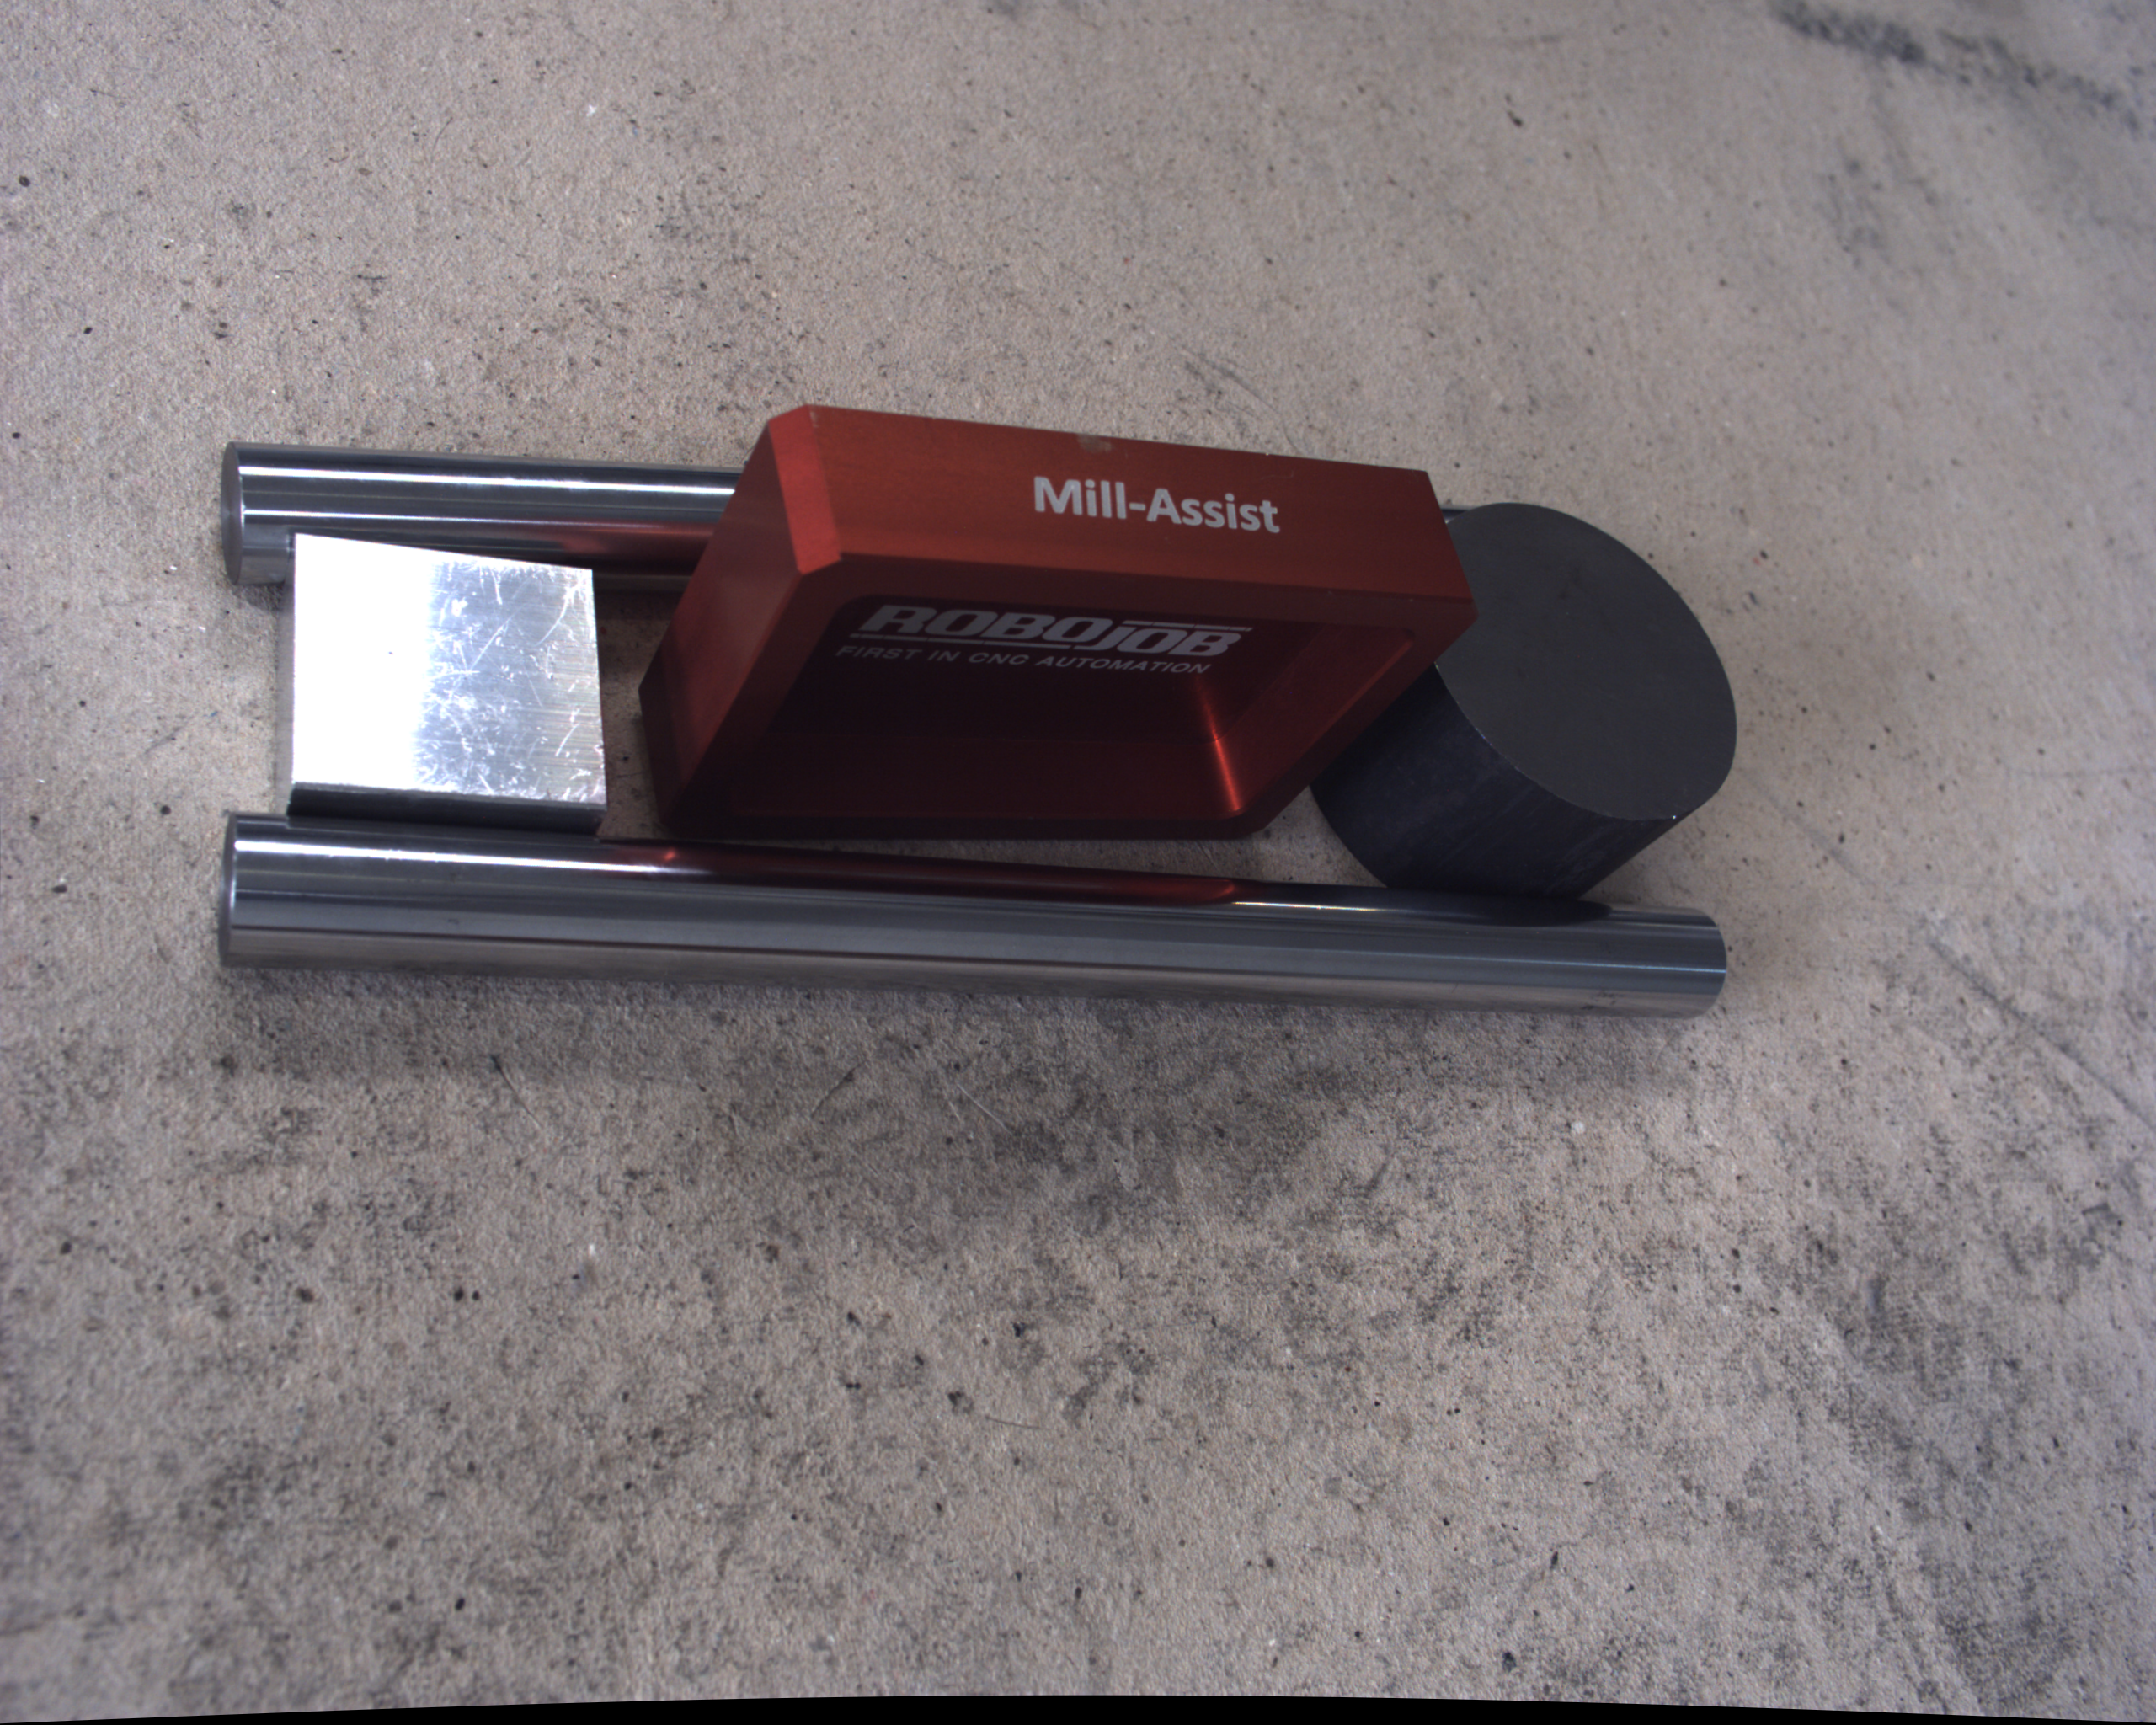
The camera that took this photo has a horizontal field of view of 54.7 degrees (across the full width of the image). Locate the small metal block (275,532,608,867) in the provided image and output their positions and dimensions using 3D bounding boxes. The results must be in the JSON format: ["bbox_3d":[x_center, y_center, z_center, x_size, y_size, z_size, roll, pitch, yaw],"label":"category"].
[{"bbox_3d":[-0.111,-0.027,0.362,0.050,0.025,0.050,4,60,-26],"label":"small metal block"}]

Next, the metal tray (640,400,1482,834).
[{"bbox_3d":[-0.004,-0.039,0.384,0.131,0.090,0.030,0,62,-28],"label":"metal tray"}]

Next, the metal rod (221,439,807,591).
[{"bbox_3d":[-0.016,-0.068,0.438,0.303,0.025,0.025,-3,63,-30],"label":"metal rod"}]

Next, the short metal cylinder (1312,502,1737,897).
[{"bbox_3d":[0.096,-0.032,0.460,0.081,0.050,0.080,14,56,-21],"label":"short metal cylinder"}]

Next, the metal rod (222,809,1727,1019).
[{"bbox_3d":[0.000,0.013,0.398,0.302,0.025,0.025,4,60,-26],"label":"metal rod"}]
